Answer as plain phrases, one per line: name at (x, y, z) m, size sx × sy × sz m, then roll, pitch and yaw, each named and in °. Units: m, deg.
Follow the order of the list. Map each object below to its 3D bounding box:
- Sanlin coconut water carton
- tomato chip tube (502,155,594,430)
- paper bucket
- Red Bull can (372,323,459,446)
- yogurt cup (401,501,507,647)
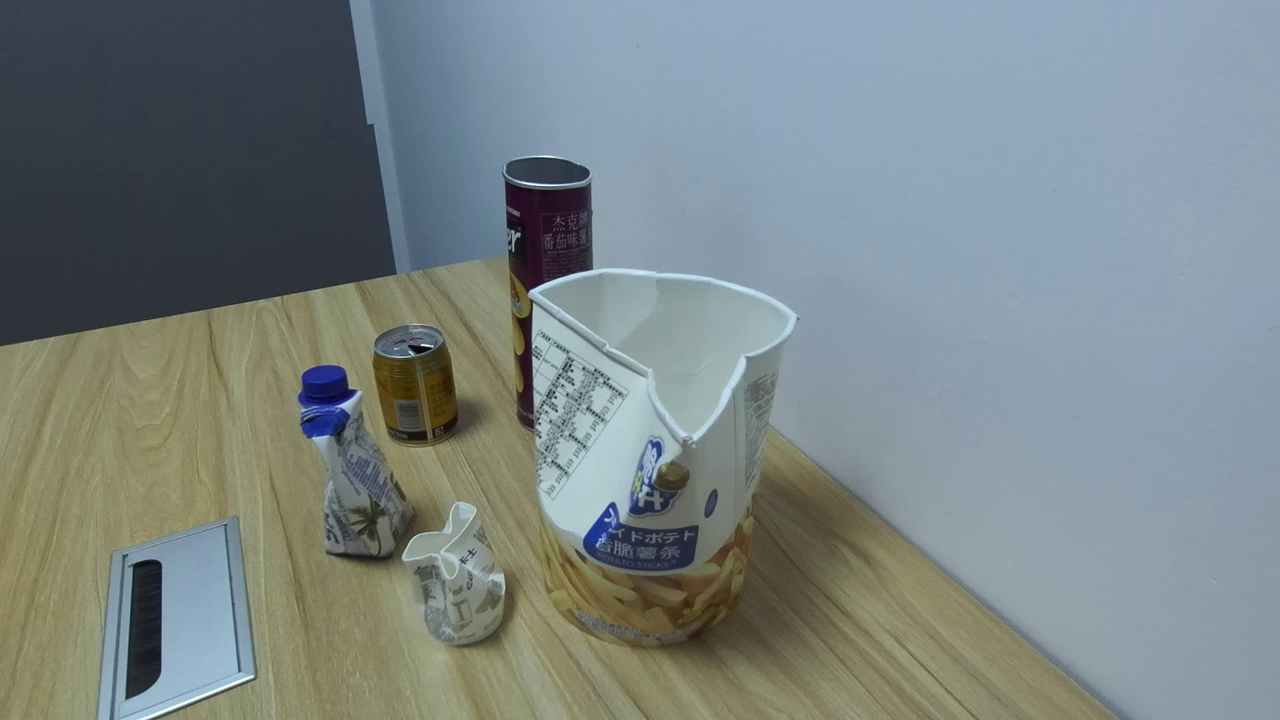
Sanlin coconut water carton at (-0.213, 0.076, 0.495) m, size 0.057 × 0.145 × 0.068 m, roll -3°, pitch 38°, yaw 5°
tomato chip tube at (-0.075, -0.049, 0.612) m, size 0.076 × 0.234 × 0.080 m, roll 5°, pitch 31°, yaw 5°
paper bucket at (-0.003, 0.062, 0.471) m, size 0.162 × 0.202 × 0.169 m, roll 17°, pitch 33°, yaw 25°
Red Bull can at (-0.202, 0.023, 0.638) m, size 0.068 × 0.093 × 0.068 m, roll 1°, pitch 29°, yaw 0°
yogurt cup at (-0.119, 0.140, 0.459) m, size 0.055 × 0.072 × 0.055 m, roll 16°, pitch 34°, yaw 26°
